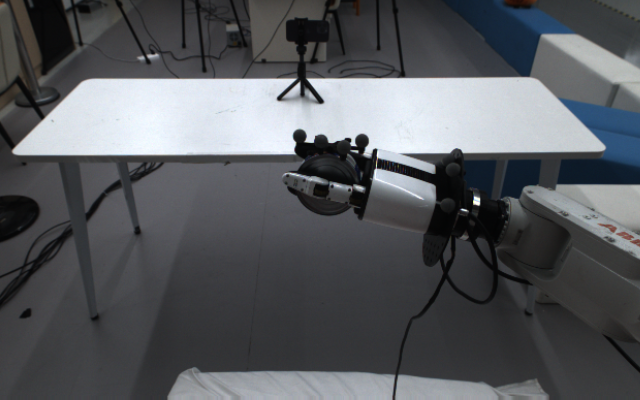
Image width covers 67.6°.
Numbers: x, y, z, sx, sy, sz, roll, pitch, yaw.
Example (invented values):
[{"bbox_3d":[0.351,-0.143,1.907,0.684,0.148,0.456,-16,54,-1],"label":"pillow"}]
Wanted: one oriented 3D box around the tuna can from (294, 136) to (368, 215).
[{"bbox_3d":[0.013,-0.025,0.638,0.085,0.085,0.034,6,22,6],"label":"tuna can"}]
